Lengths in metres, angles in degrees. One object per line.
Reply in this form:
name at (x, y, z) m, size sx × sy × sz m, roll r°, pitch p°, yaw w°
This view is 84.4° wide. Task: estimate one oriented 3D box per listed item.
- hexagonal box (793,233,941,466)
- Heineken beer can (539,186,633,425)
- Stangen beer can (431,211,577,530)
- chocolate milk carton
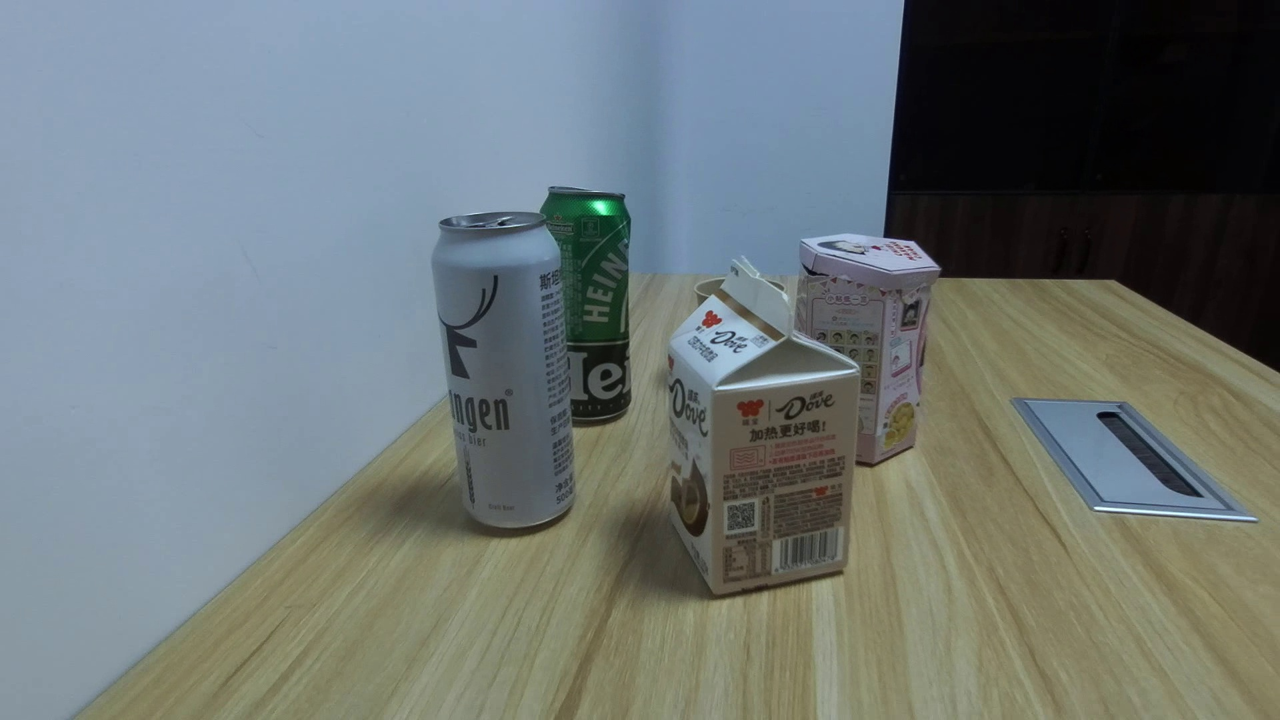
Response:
hexagonal box at (0.142, -0.009, 0.467) m, size 0.085 × 0.135 × 0.092 m, roll -2°, pitch 20°, yaw -2°
Heineken beer can at (-0.037, -0.039, 0.520) m, size 0.069 × 0.168 × 0.068 m, roll 4°, pitch 16°, yaw 9°
Stangen beer can at (-0.072, 0.008, 0.391) m, size 0.067 × 0.171 × 0.067 m, roll -2°, pitch 20°, yaw 1°
chocolate milk carton at (0.058, 0.028, 0.350) m, size 0.074 × 0.148 × 0.075 m, roll -7°, pitch 20°, yaw -12°
